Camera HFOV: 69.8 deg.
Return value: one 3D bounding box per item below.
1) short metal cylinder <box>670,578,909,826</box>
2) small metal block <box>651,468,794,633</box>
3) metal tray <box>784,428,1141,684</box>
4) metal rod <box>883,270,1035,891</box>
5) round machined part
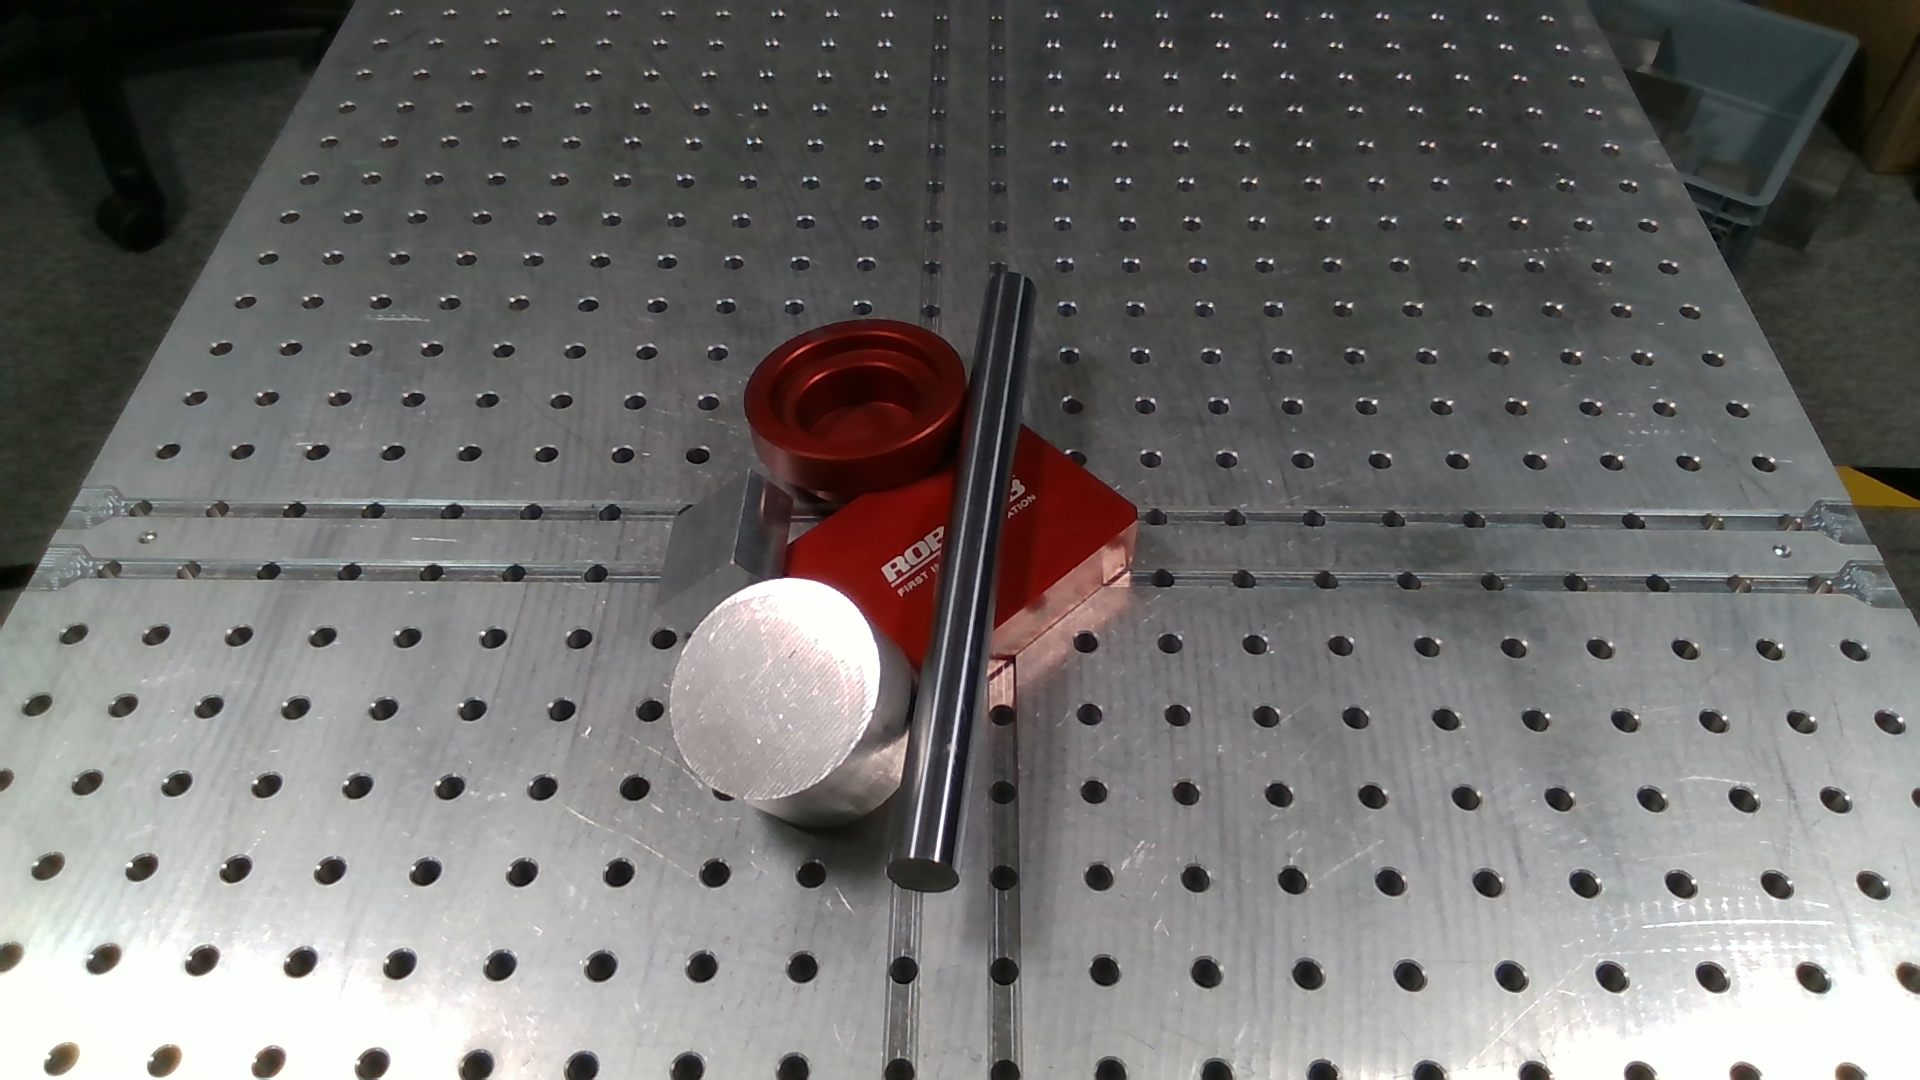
[{"bbox_3d":[-0.058,0.060,0.504,0.080,0.050,0.080,-7,67,17],"label":"short metal cylinder"},{"bbox_3d":[-0.098,0.006,0.567,0.050,0.025,0.050,-29,41,33],"label":"small metal block"},{"bbox_3d":[0.001,0.009,0.581,0.130,0.030,0.090,-36,59,-26],"label":"metal tray"},{"bbox_3d":[0.005,-0.003,0.552,0.025,0.025,0.299,5,50,5],"label":"metal rod"},{"bbox_3d":[-0.044,-0.054,0.618,0.098,0.042,0.098,-4,45,4],"label":"round machined part"}]
